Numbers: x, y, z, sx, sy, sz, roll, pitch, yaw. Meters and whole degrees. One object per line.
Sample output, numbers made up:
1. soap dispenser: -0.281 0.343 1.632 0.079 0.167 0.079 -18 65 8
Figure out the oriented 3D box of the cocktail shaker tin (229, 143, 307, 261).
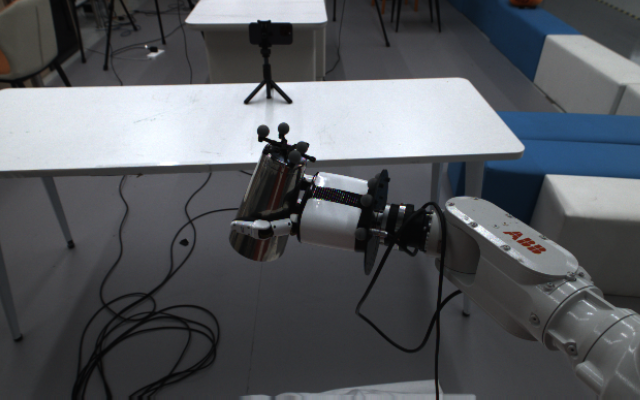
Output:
1. cocktail shaker tin: -0.075 -0.003 0.735 0.093 0.170 0.093 16 31 -10
